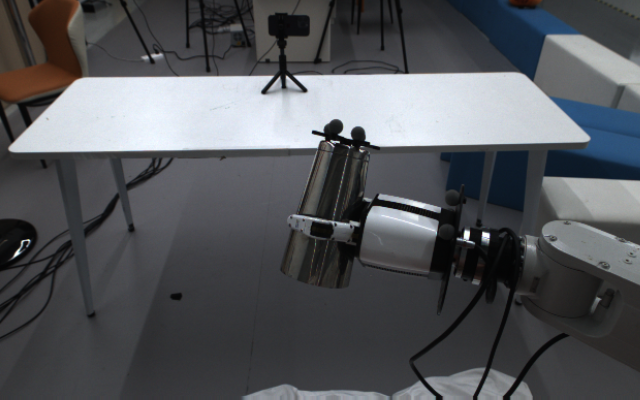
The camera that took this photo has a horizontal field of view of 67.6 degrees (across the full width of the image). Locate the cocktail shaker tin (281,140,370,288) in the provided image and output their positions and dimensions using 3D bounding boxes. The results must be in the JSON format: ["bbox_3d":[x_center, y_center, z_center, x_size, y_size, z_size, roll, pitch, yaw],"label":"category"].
[{"bbox_3d":[0.013,0.016,0.615,0.093,0.170,0.093,13,4,-1],"label":"cocktail shaker tin"}]
